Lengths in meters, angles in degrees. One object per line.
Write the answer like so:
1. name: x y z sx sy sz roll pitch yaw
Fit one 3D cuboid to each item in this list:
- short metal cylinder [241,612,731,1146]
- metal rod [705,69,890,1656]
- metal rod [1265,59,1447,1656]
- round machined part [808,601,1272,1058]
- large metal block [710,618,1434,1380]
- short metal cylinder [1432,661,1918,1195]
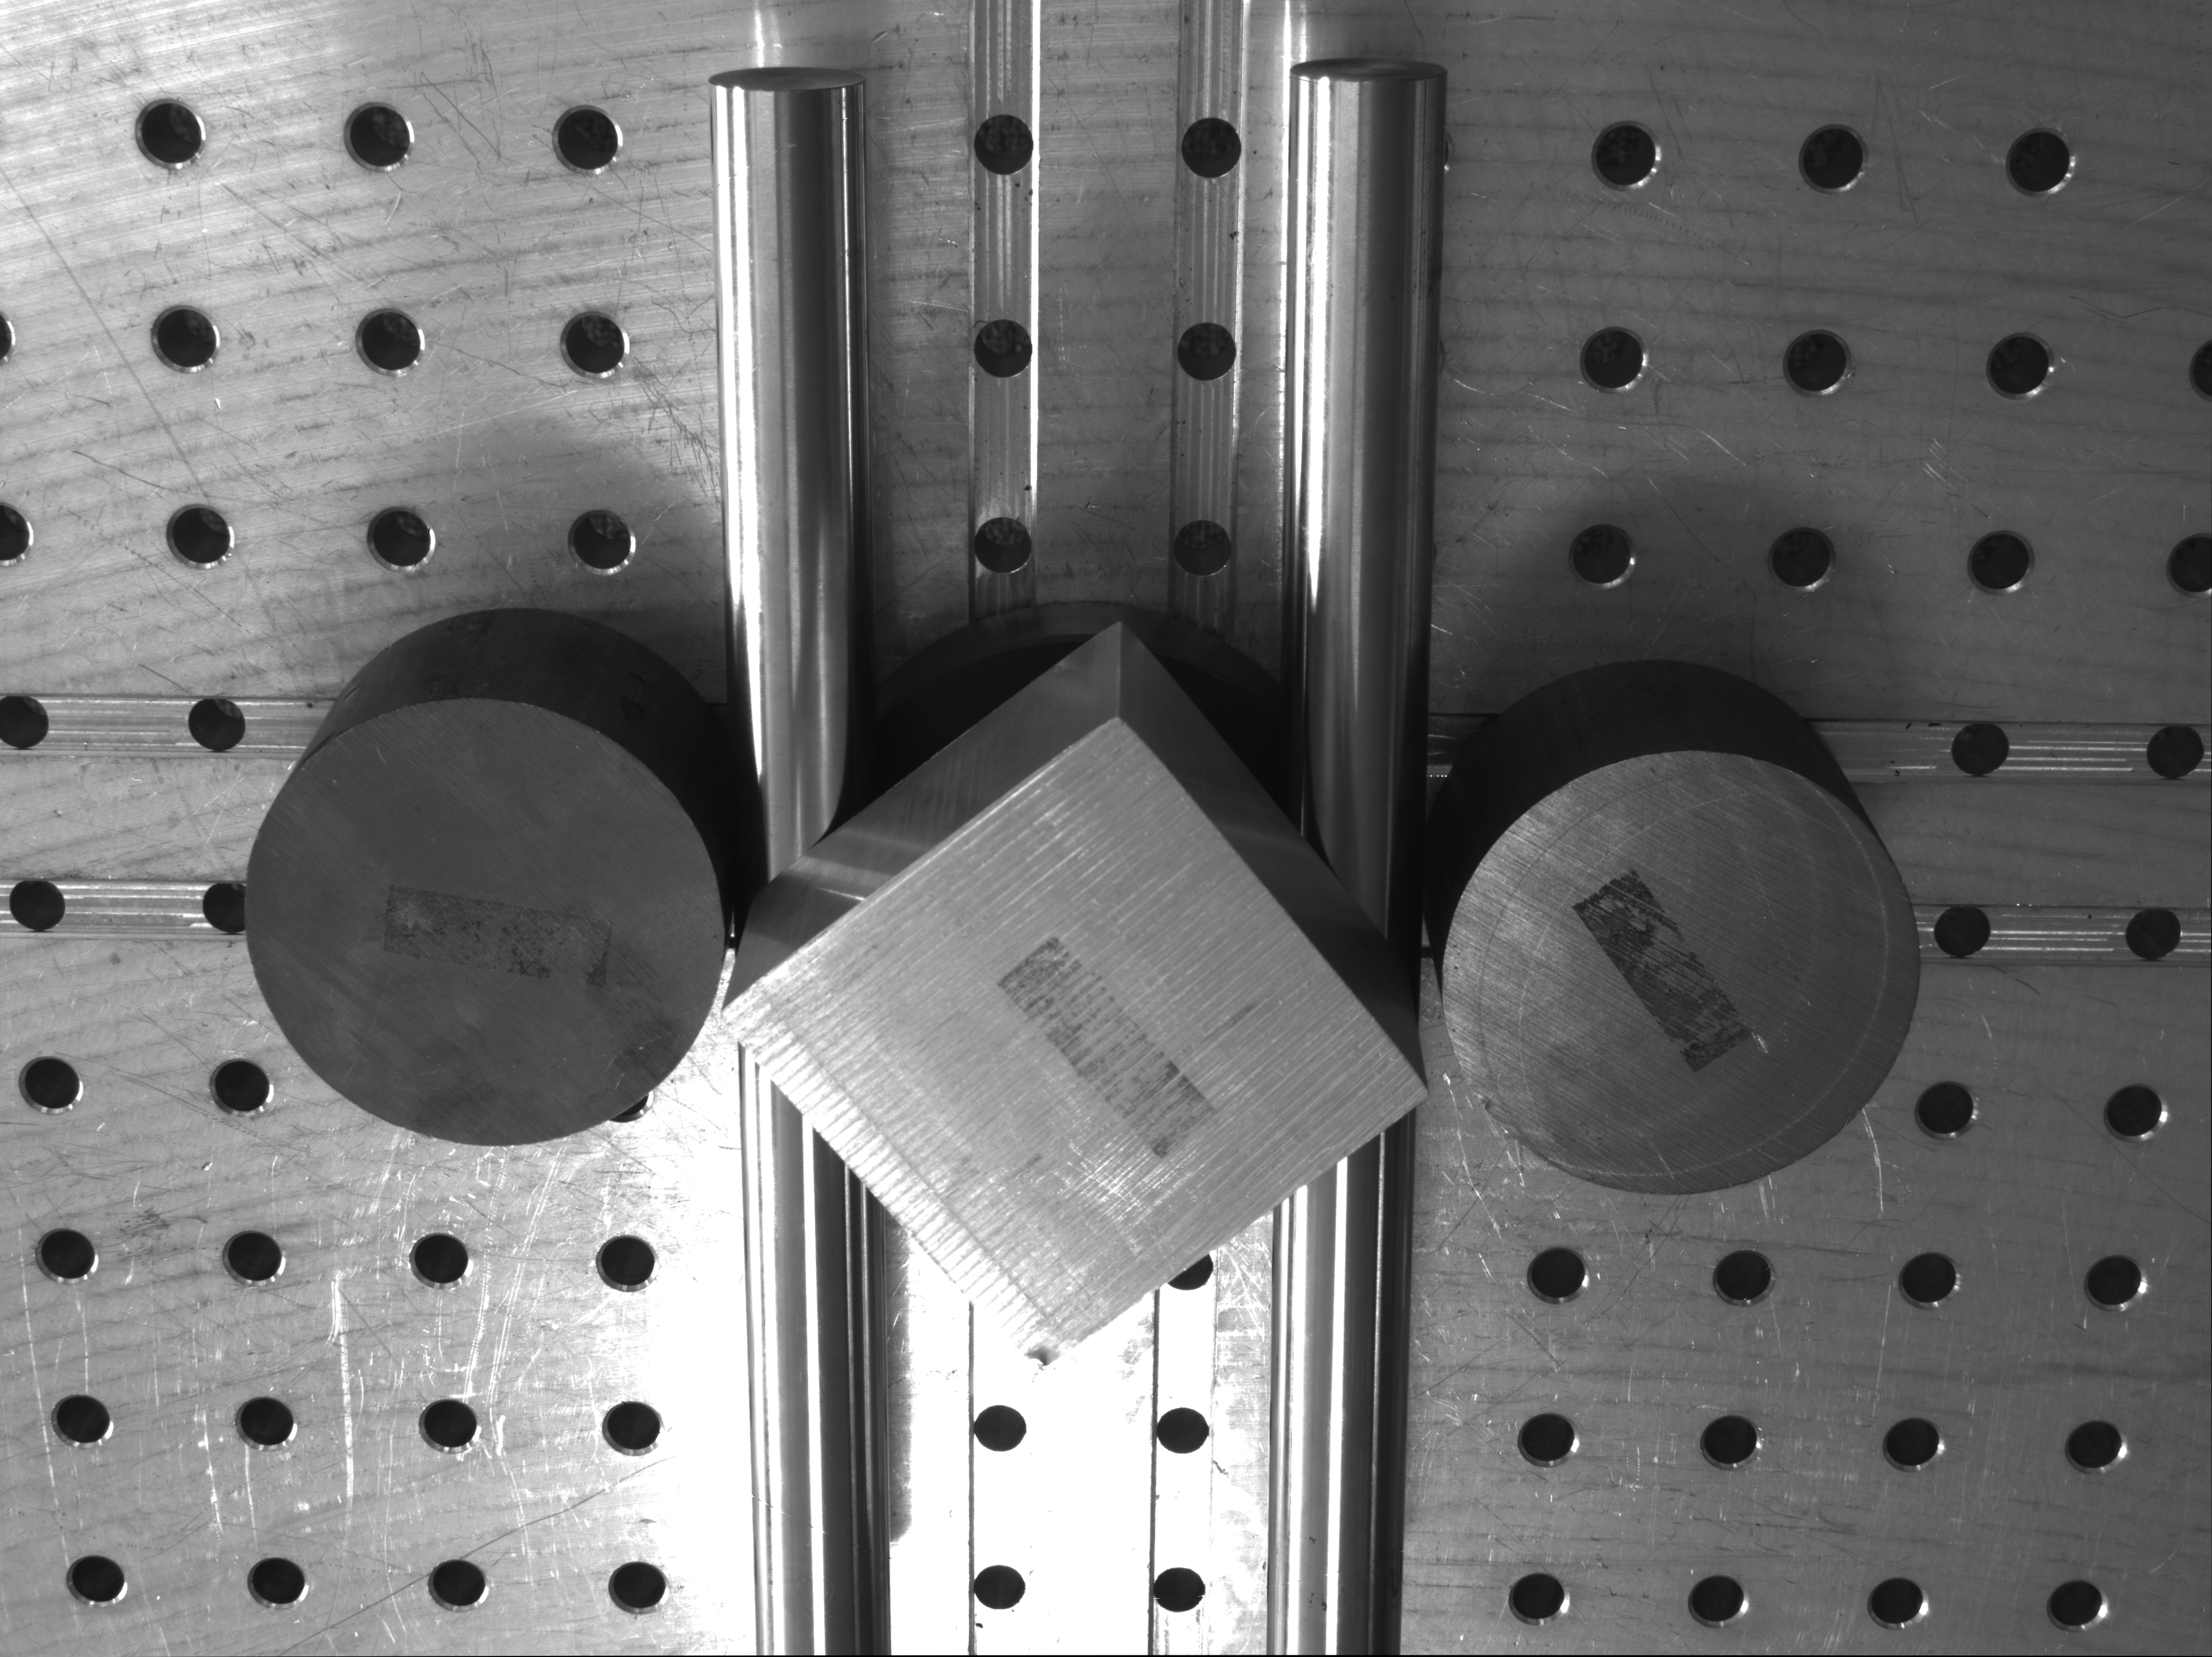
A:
1. short metal cylinder: -0.104 0.008 0.635 0.080 0.050 0.080 0 110 0
2. metal rod: -0.052 0.022 0.632 0.025 0.025 0.300 0 110 0
3. metal rod: 0.042 0.021 0.631 0.025 0.025 0.300 0 110 0
4. round machined part: -0.005 0.013 0.642 0.098 0.042 0.098 0 110 0
5. large metal block: -0.005 0.027 0.592 0.080 0.050 0.080 -37 106 12
6. short metal cylinder: 0.096 0.017 0.638 0.080 0.050 0.080 0 110 0
